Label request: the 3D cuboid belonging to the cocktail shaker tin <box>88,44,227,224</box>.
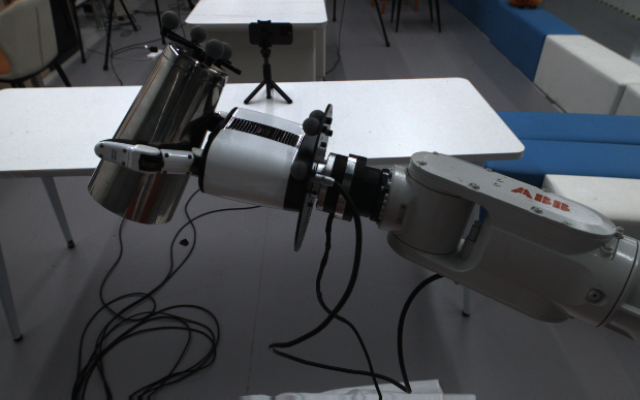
[{"bbox_3d":[-0.161,-0.072,0.503,0.093,0.170,0.093,28,14,-8],"label":"cocktail shaker tin"}]
